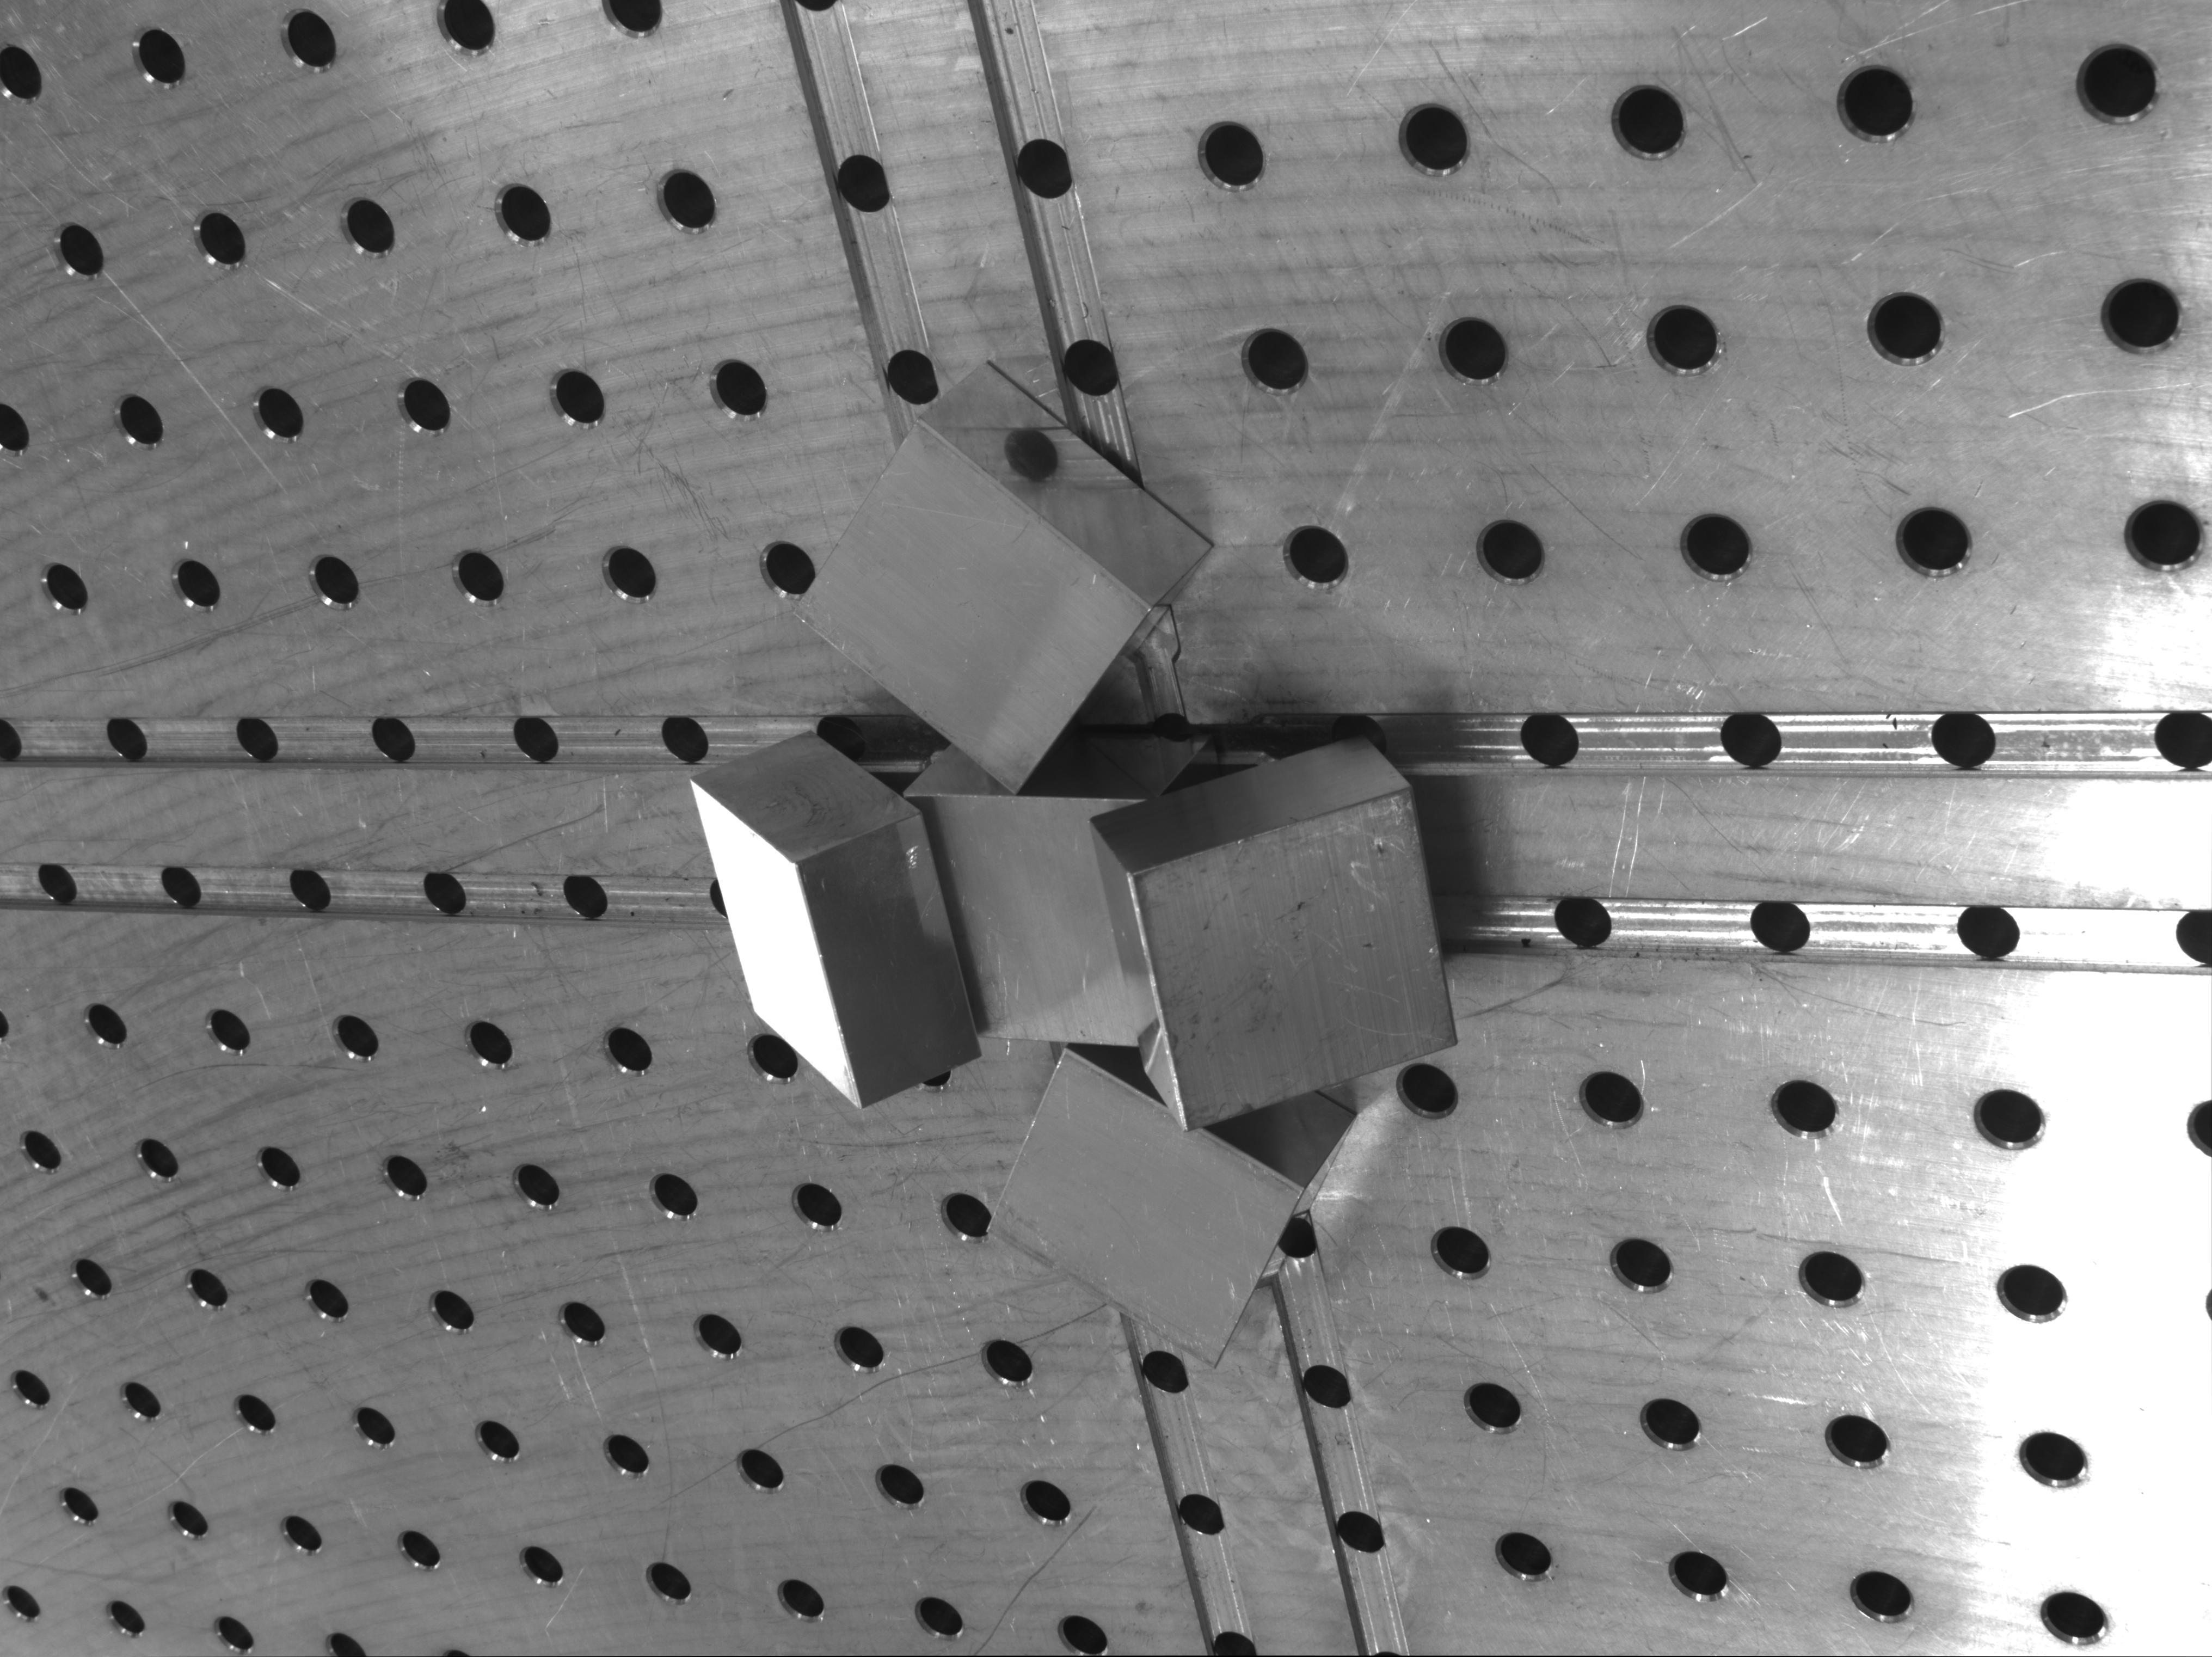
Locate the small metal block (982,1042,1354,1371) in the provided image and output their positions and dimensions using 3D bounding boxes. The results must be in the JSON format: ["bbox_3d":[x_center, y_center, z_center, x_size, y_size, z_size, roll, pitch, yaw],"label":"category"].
[{"bbox_3d":[0.011,0.064,0.679,0.050,0.025,0.050,31,129,10],"label":"small metal block"}]

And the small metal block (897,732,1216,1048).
[{"bbox_3d":[-0.004,0.011,0.655,0.050,0.025,0.050,1,118,28],"label":"small metal block"}]

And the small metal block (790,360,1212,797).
[{"bbox_3d":[-0.018,-0.043,0.630,0.050,0.025,0.050,40,129,2],"label":"small metal block"}]

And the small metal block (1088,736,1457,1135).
[{"bbox_3d":[0.028,0.018,0.624,0.050,0.025,0.050,-16,116,-9],"label":"small metal block"}]

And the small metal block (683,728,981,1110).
[{"bbox_3d":[-0.050,0.016,0.666,0.050,0.025,0.050,34,142,56],"label":"small metal block"}]
